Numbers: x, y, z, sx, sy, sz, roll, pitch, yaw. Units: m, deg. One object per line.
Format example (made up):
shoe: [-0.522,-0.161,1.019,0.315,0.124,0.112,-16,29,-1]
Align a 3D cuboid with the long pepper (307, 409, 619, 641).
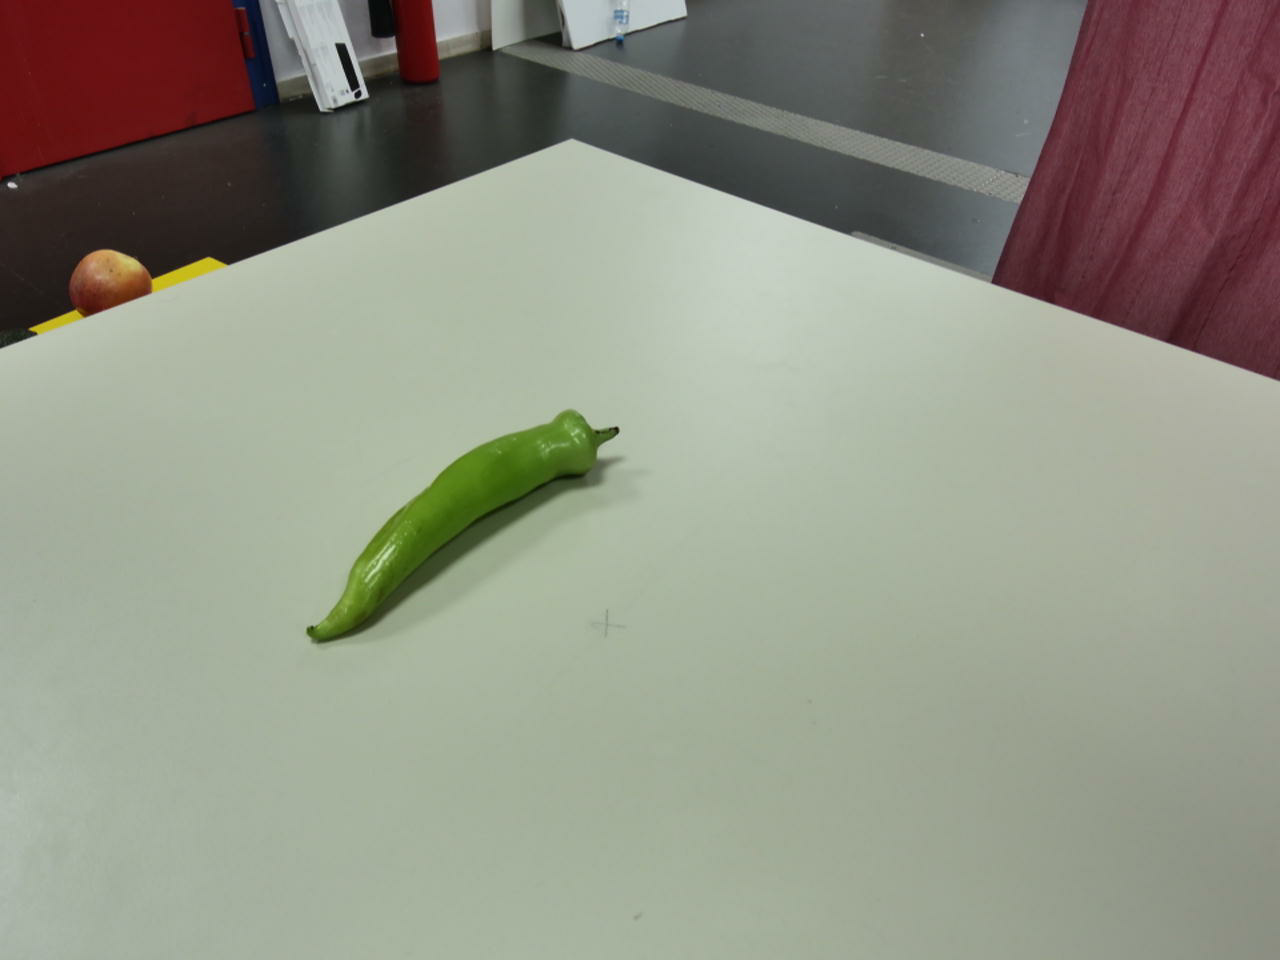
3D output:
long pepper: [-0.089,0.011,0.501,0.047,0.038,0.197,30,45,32]
